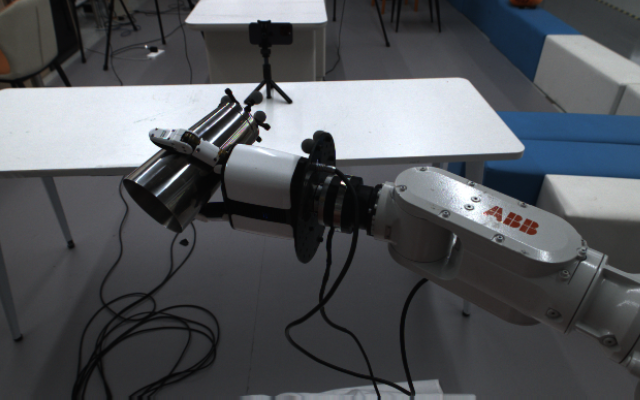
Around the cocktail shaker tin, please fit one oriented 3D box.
[{"bbox_3d":[-0.156,-0.055,0.623,0.093,0.093,0.170,23,57,27],"label":"cocktail shaker tin"}]
